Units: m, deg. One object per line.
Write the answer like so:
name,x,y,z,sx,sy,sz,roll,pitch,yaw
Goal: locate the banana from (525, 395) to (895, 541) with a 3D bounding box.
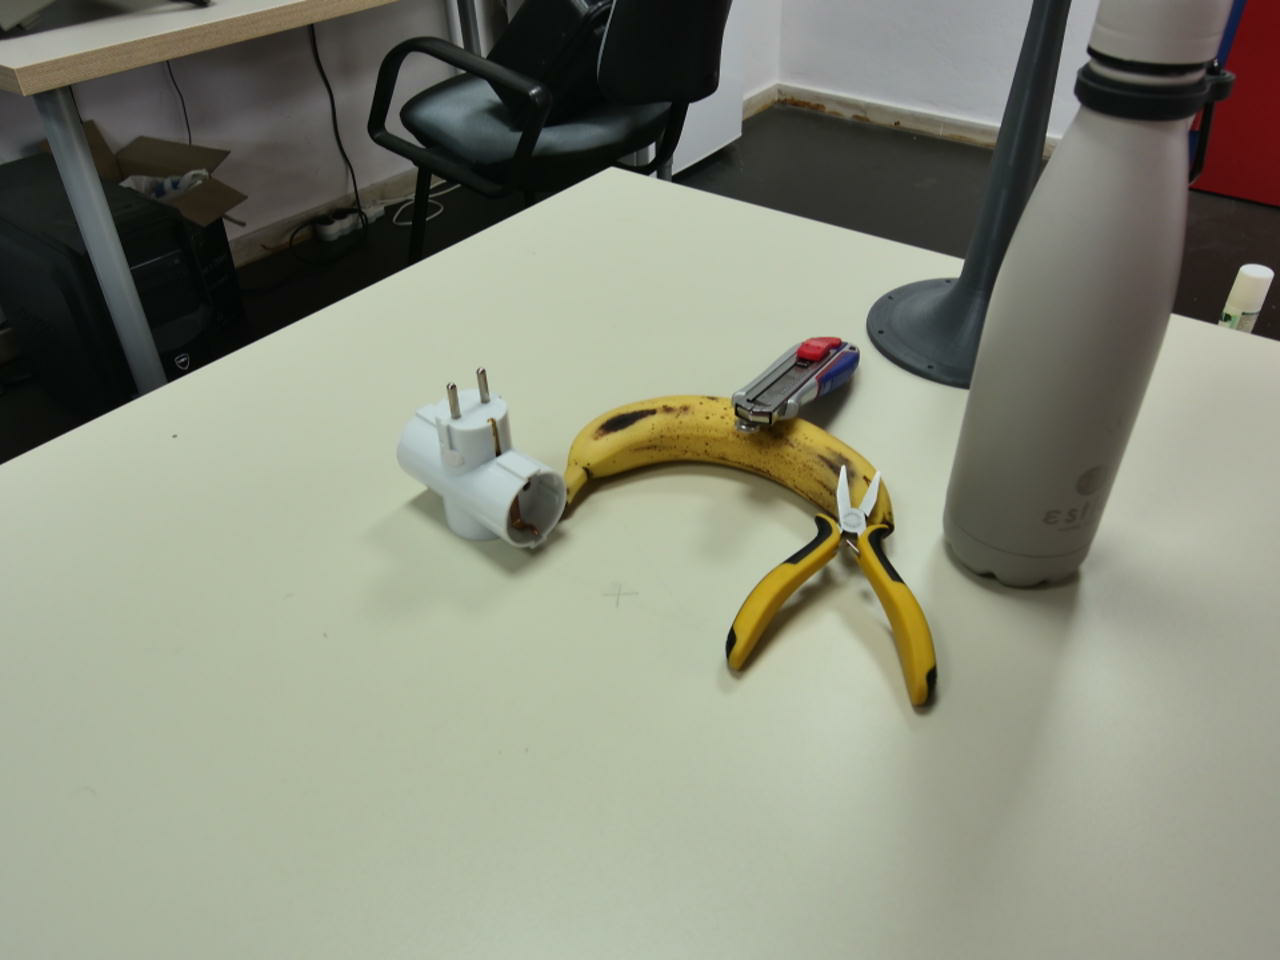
banana,0.042,-0.010,0.545,0.186,0.038,0.097,5,37,9
